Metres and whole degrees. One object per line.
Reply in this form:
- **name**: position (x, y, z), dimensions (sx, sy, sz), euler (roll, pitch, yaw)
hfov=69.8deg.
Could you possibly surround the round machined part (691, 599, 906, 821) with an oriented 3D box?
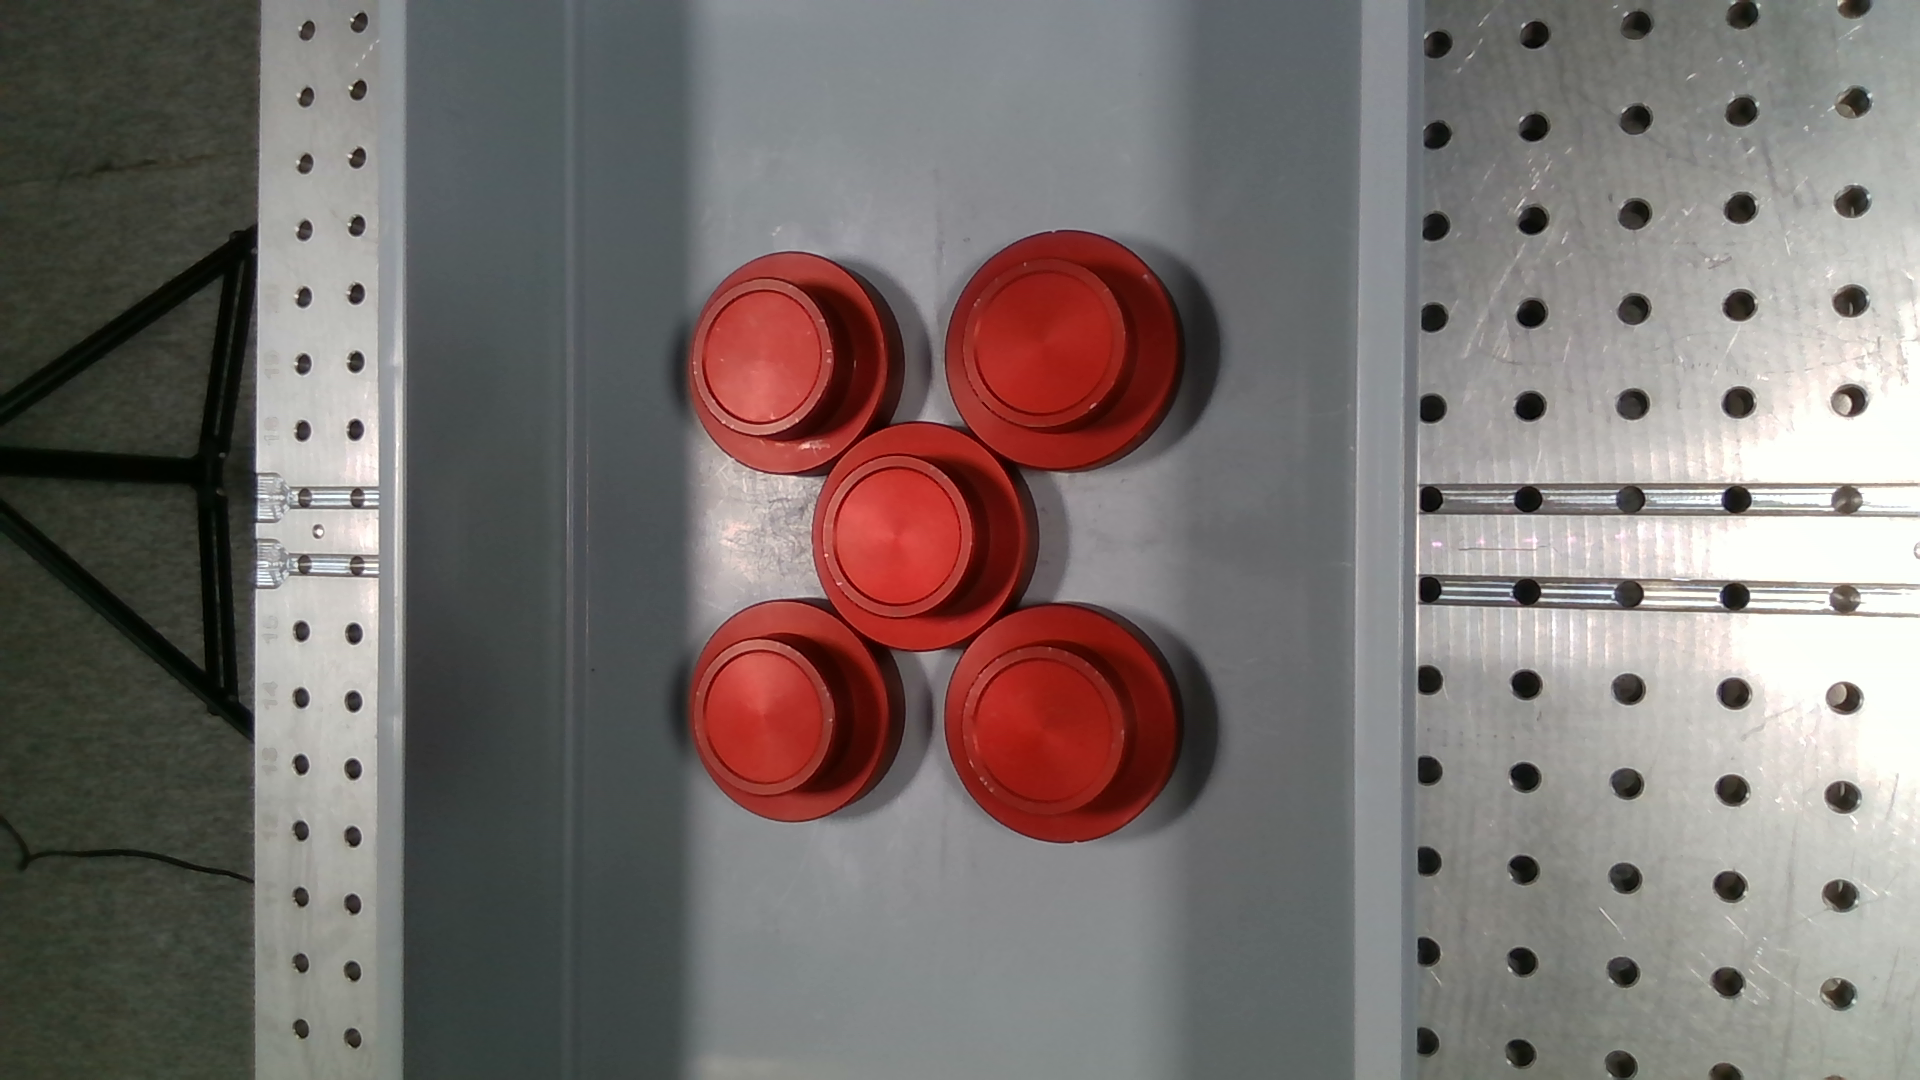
- **round machined part**: position (-0.077, 0.075, 0.605), dimensions (0.098, 0.042, 0.098), euler (0, 91, 20)

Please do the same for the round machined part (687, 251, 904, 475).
- **round machined part**: position (-0.077, -0.078, 0.603), dimensions (0.098, 0.042, 0.098), euler (0, 91, 20)

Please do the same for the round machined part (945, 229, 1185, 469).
- **round machined part**: position (0.039, -0.078, 0.560), dimensions (0.098, 0.042, 0.098), euler (0, 91, 20)

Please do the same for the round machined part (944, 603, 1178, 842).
- **round machined part**: position (0.039, 0.075, 0.562), dimensions (0.098, 0.042, 0.098), euler (0, 91, 20)

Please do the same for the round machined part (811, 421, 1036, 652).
- **round machined part**: position (-0.020, -0.002, 0.582), dimensions (0.098, 0.042, 0.098), euler (0, 91, 20)
